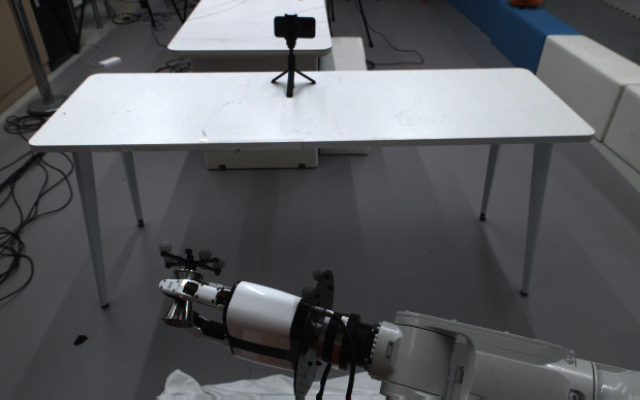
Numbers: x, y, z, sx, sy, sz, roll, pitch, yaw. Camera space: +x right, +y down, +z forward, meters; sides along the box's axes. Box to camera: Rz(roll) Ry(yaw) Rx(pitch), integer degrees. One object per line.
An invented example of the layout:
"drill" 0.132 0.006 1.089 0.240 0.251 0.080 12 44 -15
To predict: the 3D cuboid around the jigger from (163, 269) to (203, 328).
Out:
"jigger" -0.182 0.130 0.642 0.043 0.043 0.071 4 61 3
